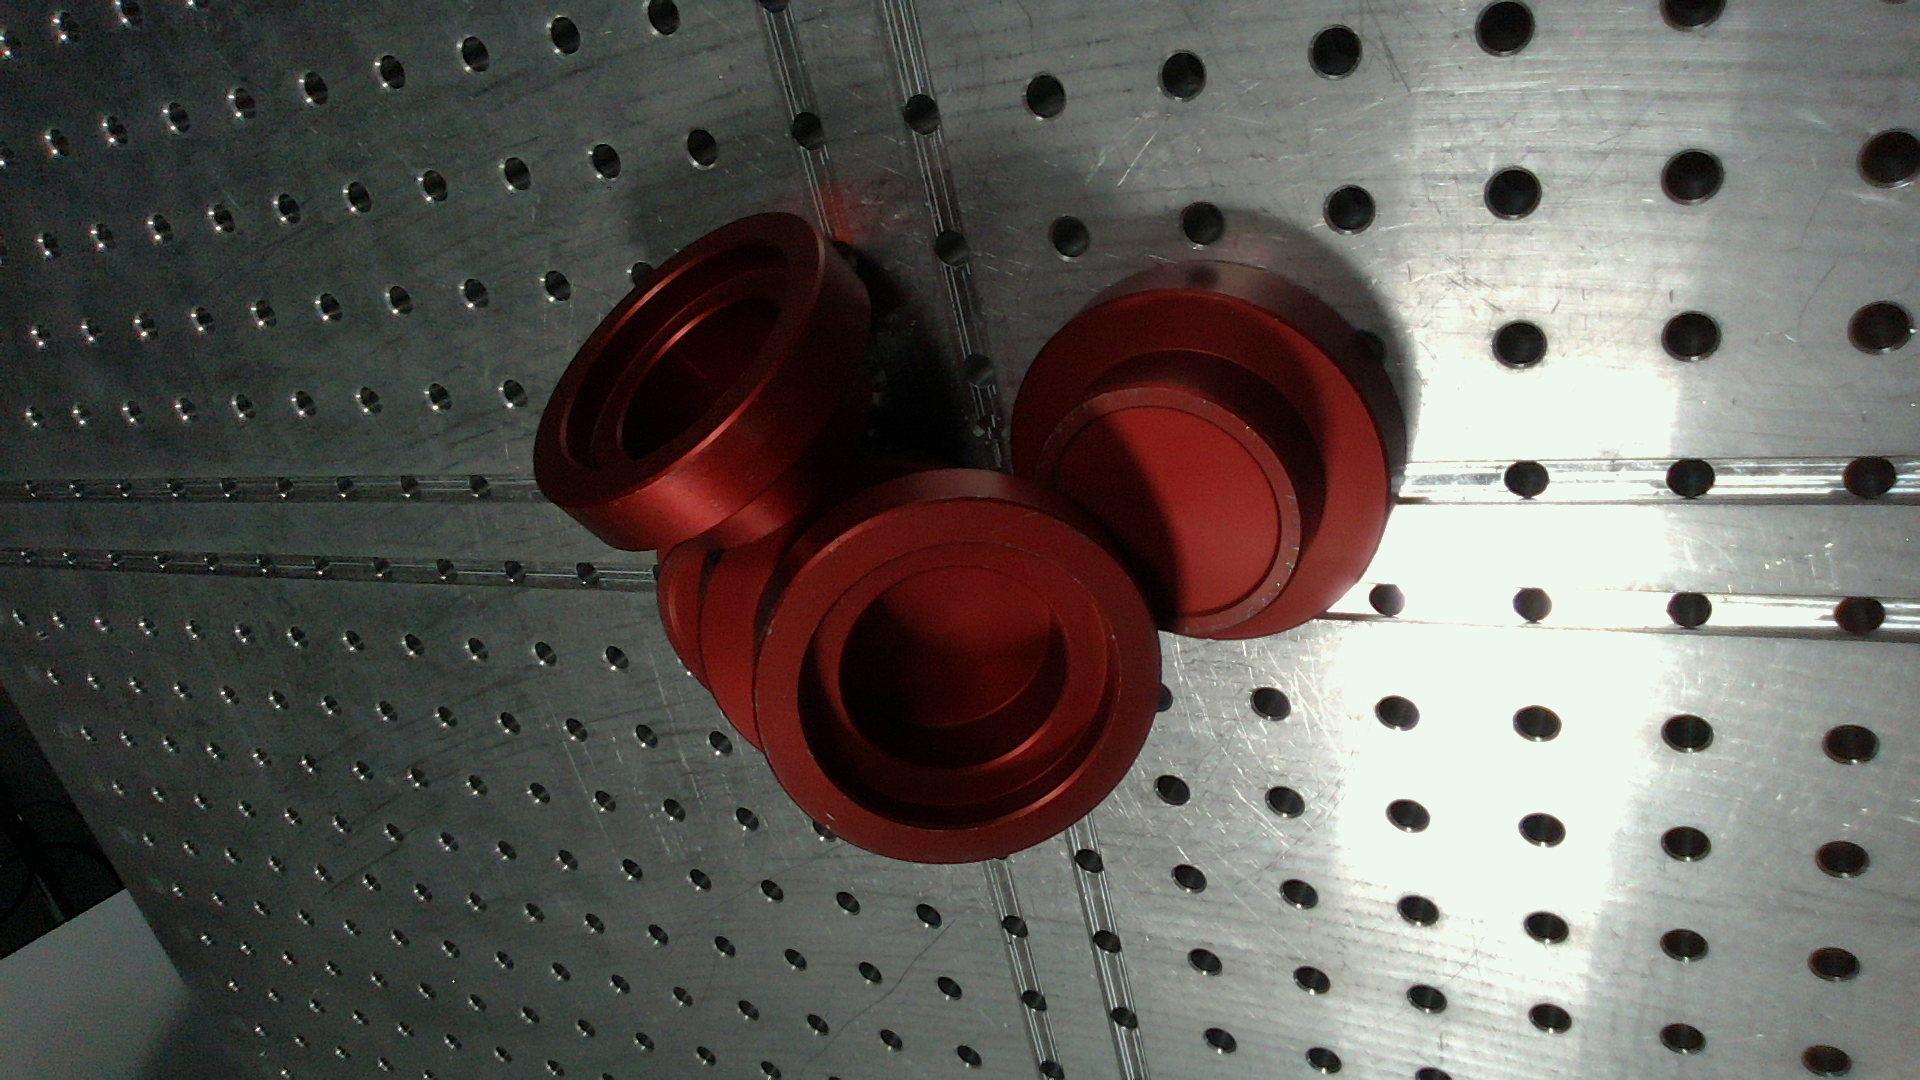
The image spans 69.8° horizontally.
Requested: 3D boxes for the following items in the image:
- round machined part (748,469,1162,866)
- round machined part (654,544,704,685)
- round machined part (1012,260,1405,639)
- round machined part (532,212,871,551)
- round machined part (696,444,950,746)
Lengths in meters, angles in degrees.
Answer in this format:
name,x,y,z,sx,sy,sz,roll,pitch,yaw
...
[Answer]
name,x,y,z,sx,sy,sz,roll,pitch,yaw
round machined part,-0.003,0.028,0.342,0.098,0.042,0.098,-3,113,-7
round machined part,-0.054,0.017,0.425,0.098,0.042,0.098,13,124,21
round machined part,0.058,-0.016,0.344,0.098,0.042,0.098,13,124,21
round machined part,-0.063,-0.037,0.366,0.098,0.098,0.042,-13,137,34
round machined part,-0.024,0.026,0.383,0.098,0.042,0.098,-4,110,-10
